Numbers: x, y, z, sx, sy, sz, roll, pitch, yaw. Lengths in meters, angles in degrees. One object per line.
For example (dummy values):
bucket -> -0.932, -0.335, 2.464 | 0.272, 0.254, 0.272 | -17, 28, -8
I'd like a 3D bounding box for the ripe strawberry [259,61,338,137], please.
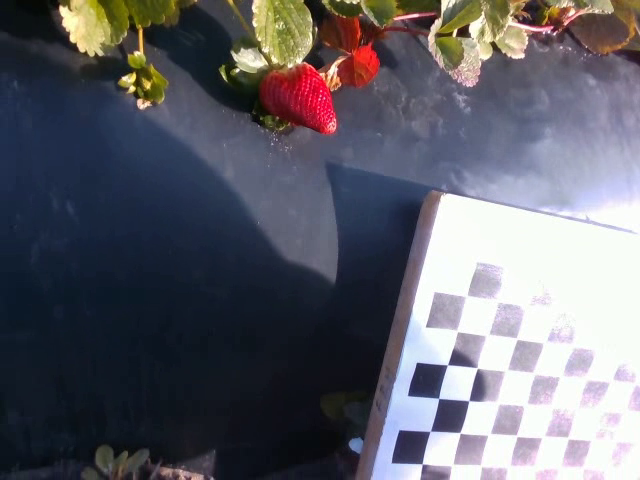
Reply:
ripe strawberry -> -0.009, -0.078, 0.329 | 0.040, 0.056, 0.041 | -39, -22, -5
